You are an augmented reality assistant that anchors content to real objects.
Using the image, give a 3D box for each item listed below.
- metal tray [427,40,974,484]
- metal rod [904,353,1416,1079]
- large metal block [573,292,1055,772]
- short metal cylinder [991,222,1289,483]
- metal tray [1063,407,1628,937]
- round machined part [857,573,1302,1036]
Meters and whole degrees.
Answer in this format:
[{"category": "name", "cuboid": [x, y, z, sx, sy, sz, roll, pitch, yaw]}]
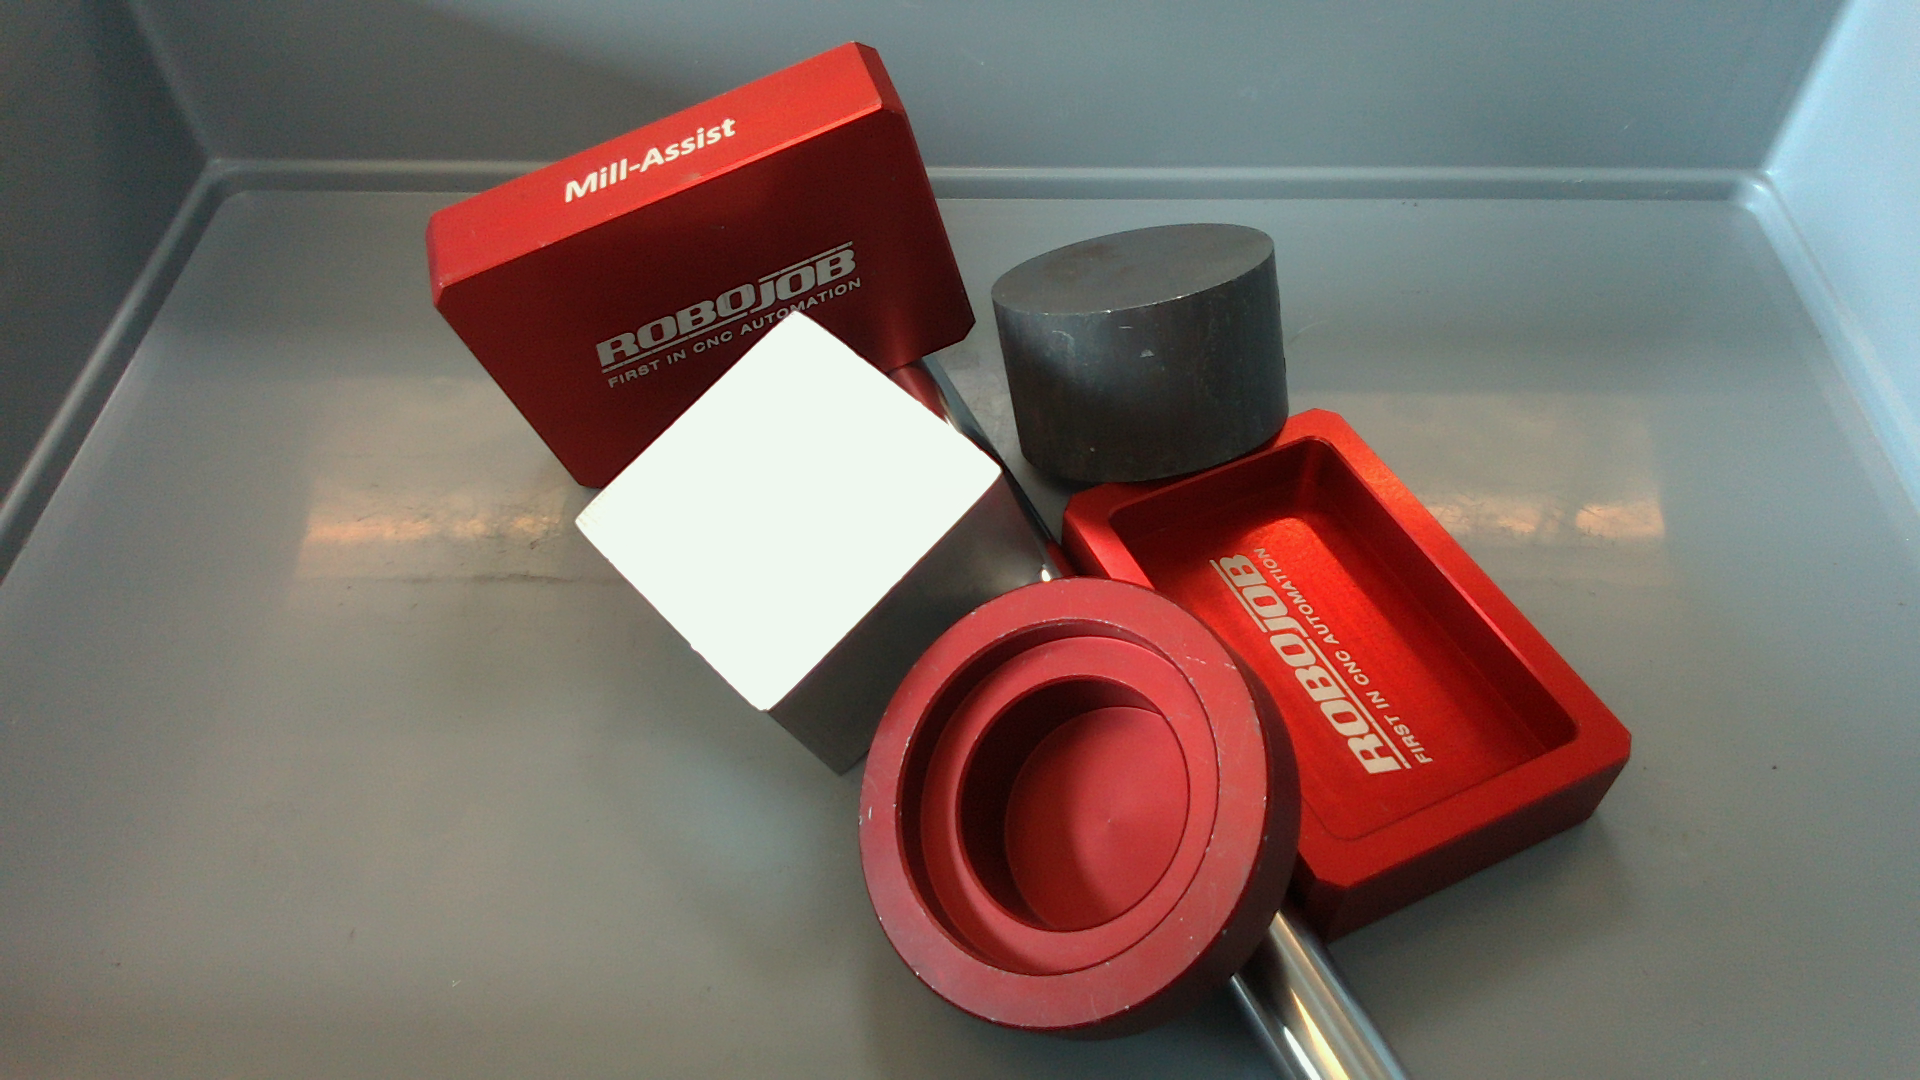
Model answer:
[{"category": "metal tray", "cuboid": [-0.069, -0.074, 0.391, 0.130, 0.090, 0.030, -22, 54, 0]}, {"category": "metal rod", "cuboid": [0.024, 0.019, 0.373, 0.025, 0.025, 0.299, -20, 53, -16]}, {"category": "large metal block", "cuboid": [-0.036, -0.003, 0.352, 0.080, 0.050, 0.080, -44, 61, -10]}, {"category": "short metal cylinder", "cuboid": [0.053, -0.057, 0.402, 0.080, 0.050, 0.080, -10, 25, 5]}, {"category": "metal tray", "cuboid": [0.094, 0.028, 0.363, 0.090, 0.030, 0.130, -20, 53, -16]}, {"category": "round machined part", "cuboid": [0.029, 0.060, 0.309, 0.098, 0.042, 0.098, -13, 62, 26]}]
